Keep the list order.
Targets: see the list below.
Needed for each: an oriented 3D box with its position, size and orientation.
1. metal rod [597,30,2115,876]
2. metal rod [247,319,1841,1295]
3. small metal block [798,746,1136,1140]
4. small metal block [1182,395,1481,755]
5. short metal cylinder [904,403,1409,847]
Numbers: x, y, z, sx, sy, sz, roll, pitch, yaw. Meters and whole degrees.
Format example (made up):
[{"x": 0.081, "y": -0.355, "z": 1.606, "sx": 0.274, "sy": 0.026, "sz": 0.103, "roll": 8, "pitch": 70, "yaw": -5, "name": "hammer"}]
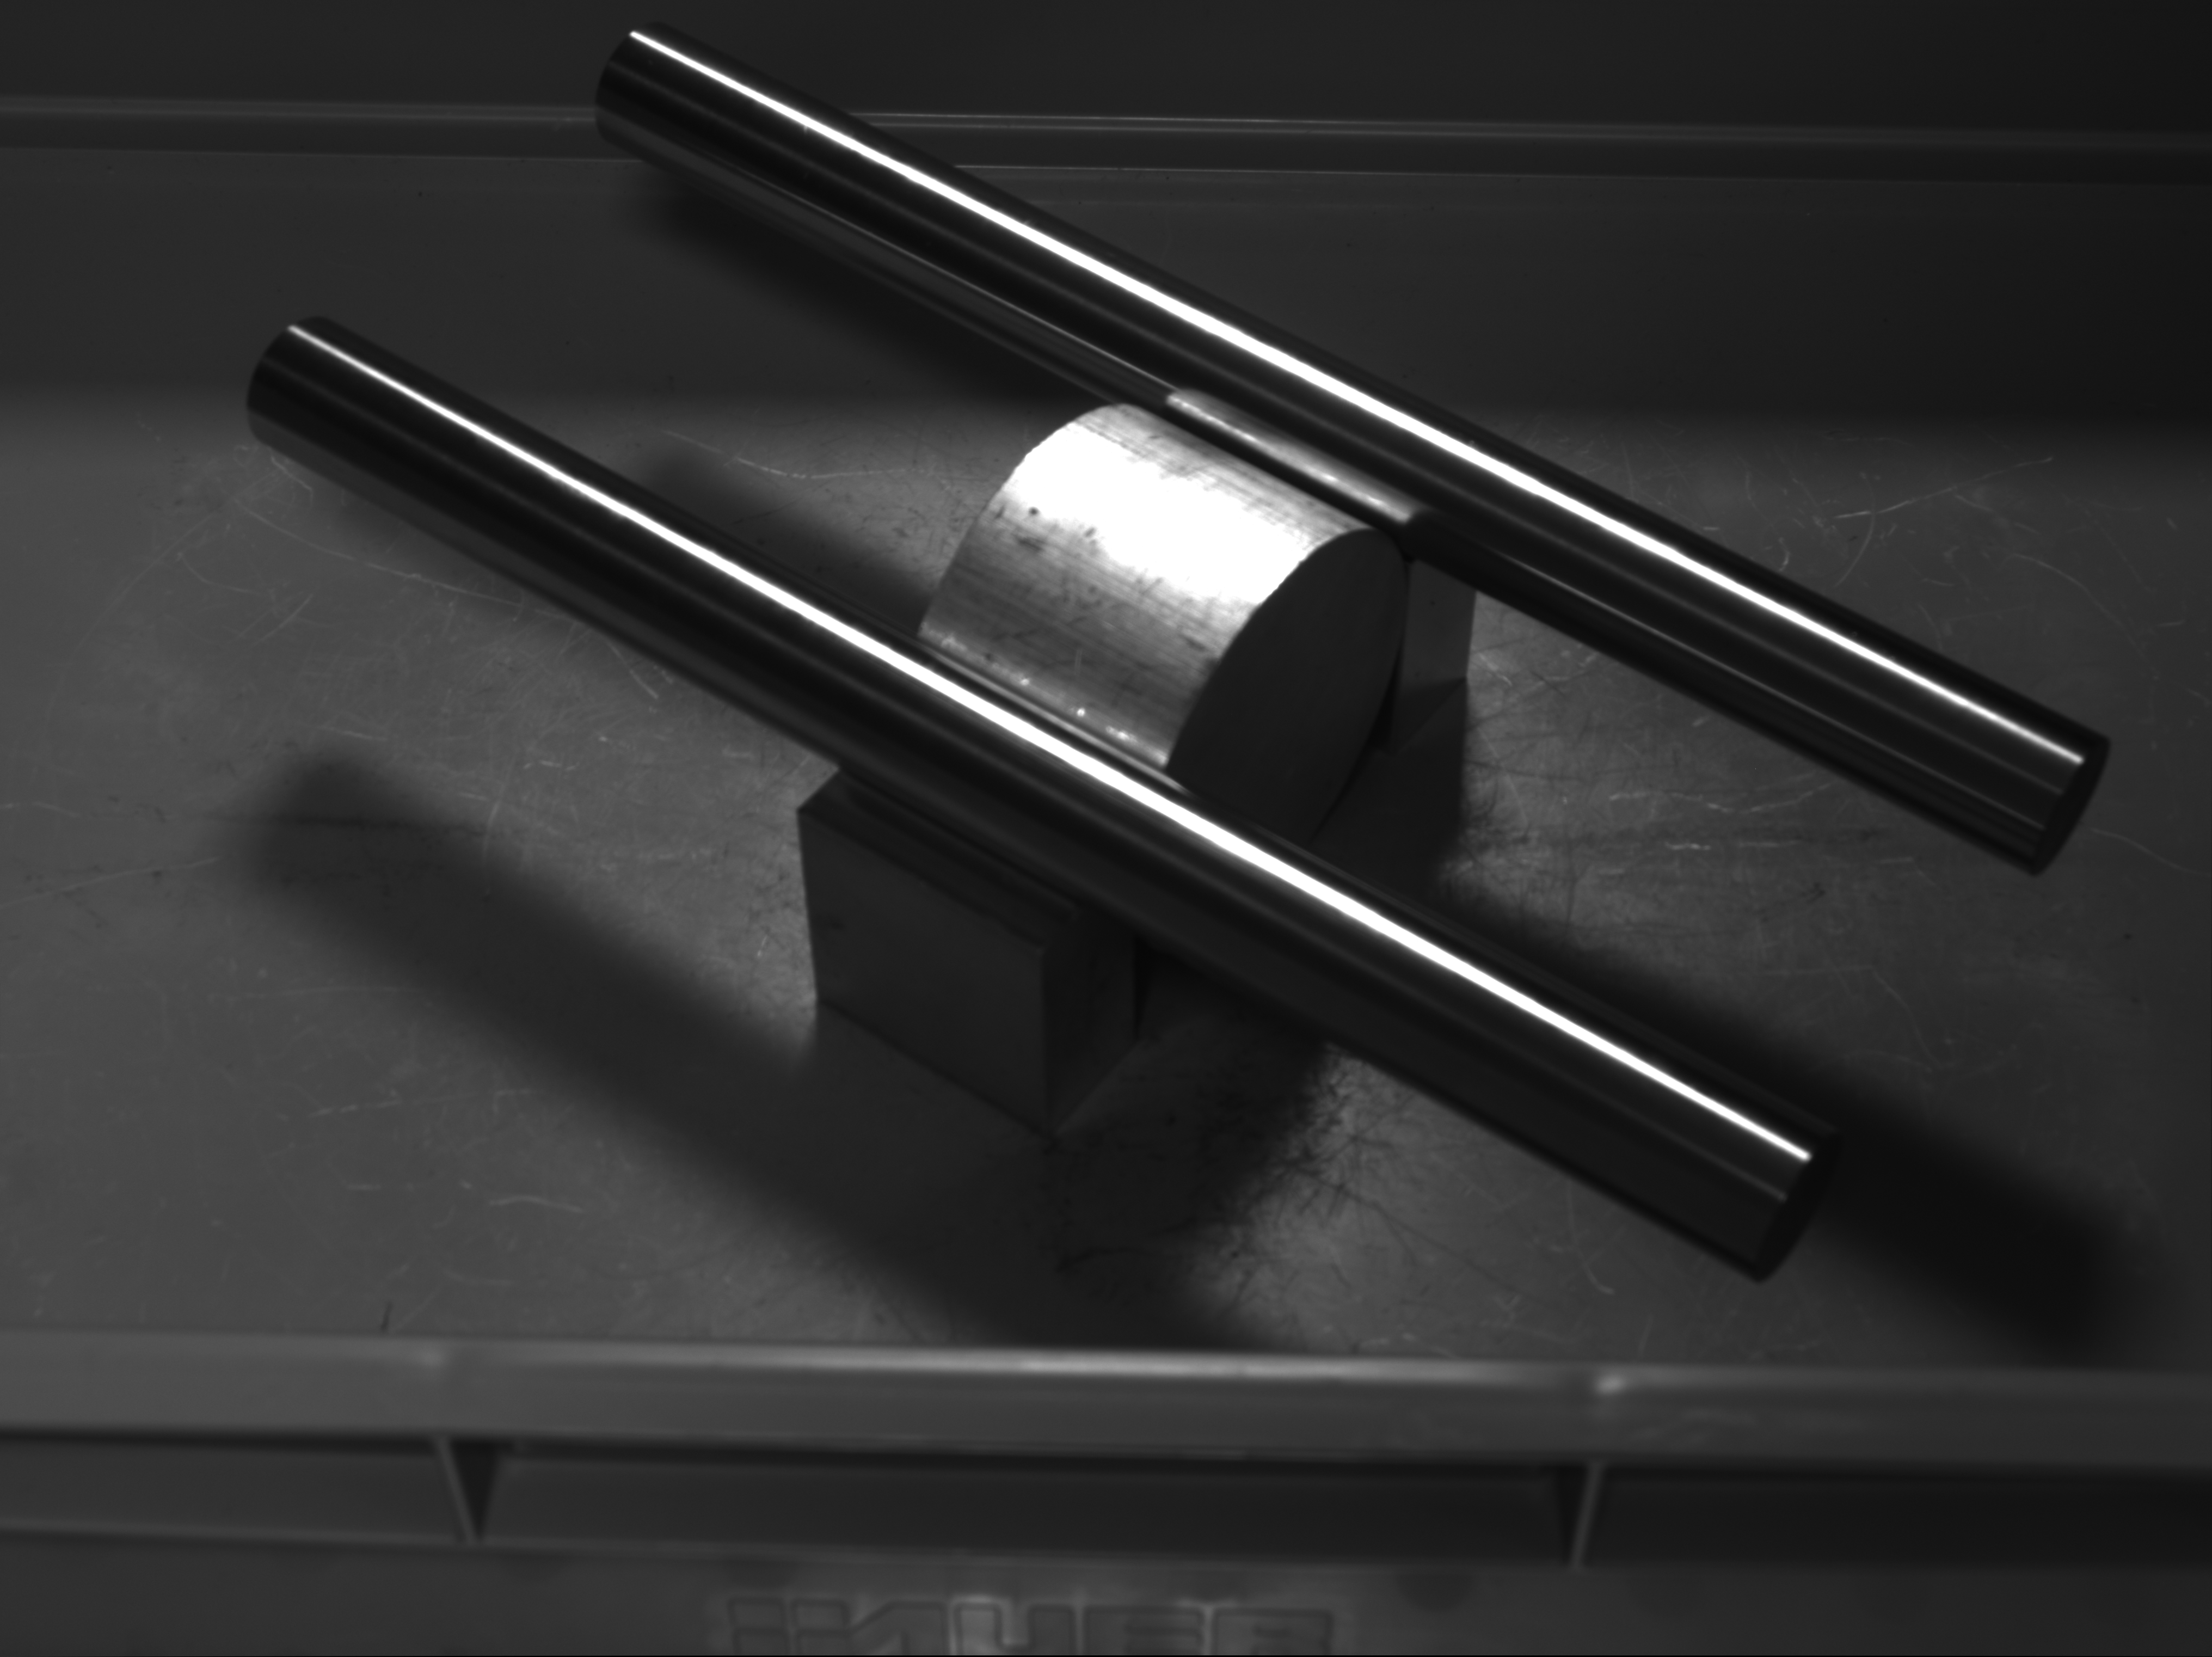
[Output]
[{"x": 0.033, "y": -0.071, "z": 0.636, "sx": 0.299, "sy": 0.025, "sz": 0.025, "roll": 29, "pitch": 56, "yaw": 22, "name": "metal rod"}, {"x": -0.021, "y": -0.011, "z": 0.586, "sx": 0.299, "sy": 0.025, "sz": 0.025, "roll": 29, "pitch": 56, "yaw": 23, "name": "metal rod"}, {"x": -0.022, "y": 0.017, "z": 0.610, "sx": 0.050, "sy": 0.050, "sz": 0.025, "roll": 30, "pitch": 56, "yaw": 23, "name": "small metal block"}, {"x": 0.041, "y": -0.049, "z": 0.665, "sx": 0.050, "sy": 0.050, "sz": 0.025, "roll": 30, "pitch": 56, "yaw": 23, "name": "small metal block"}, {"x": 0.009, "y": -0.026, "z": 0.626, "sx": 0.050, "sy": 0.080, "sz": 0.080, "roll": 29, "pitch": 56, "yaw": 23, "name": "short metal cylinder"}]
